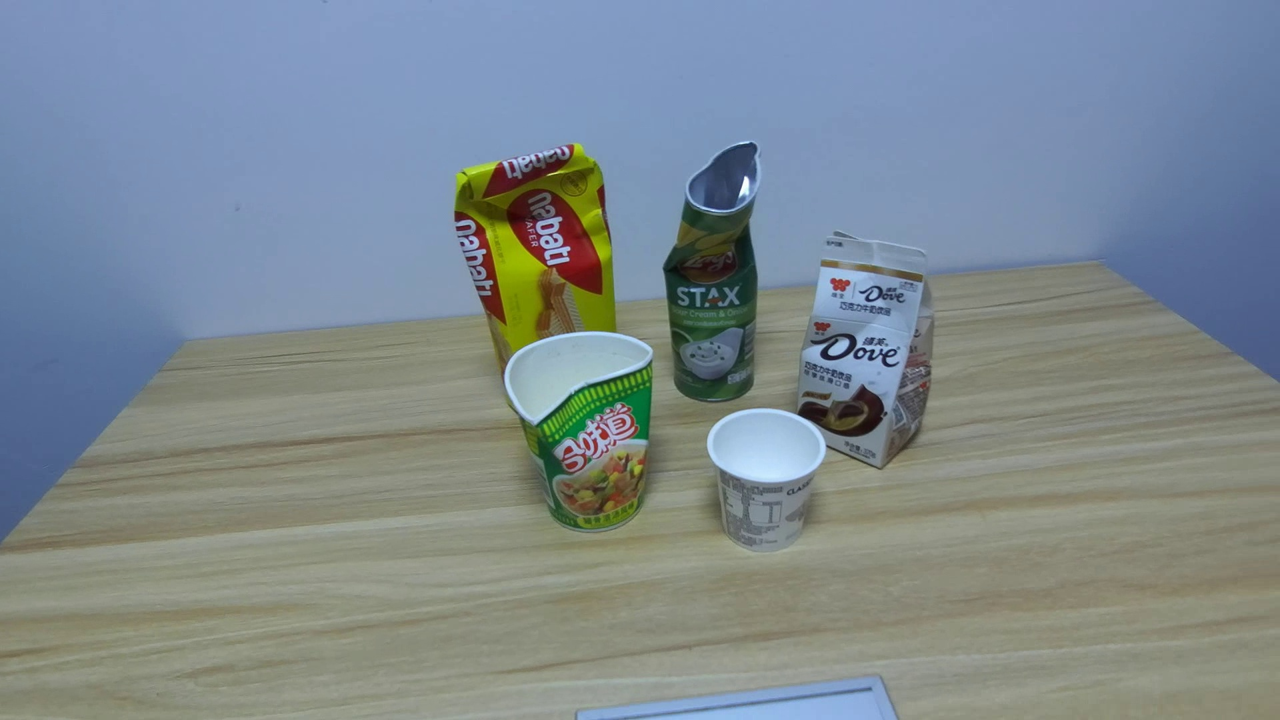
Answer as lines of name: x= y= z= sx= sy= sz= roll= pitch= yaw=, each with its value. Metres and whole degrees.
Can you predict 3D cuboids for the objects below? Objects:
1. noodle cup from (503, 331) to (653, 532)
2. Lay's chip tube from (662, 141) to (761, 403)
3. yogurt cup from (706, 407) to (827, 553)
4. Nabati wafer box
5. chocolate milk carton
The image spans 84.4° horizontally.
noodle cup: x=-0.033 y=0.049 z=0.469 sx=0.094 sy=0.109 sz=0.086 roll=-13 pitch=34 yaw=-13
Lay's chip tube: x=0.061 y=-0.057 z=0.545 sx=0.079 sy=0.199 sz=0.070 roll=-16 pitch=42 yaw=-15
yogurt cup: x=0.078 y=0.078 z=0.447 sx=0.072 sy=0.068 sz=0.072 roll=-3 pitch=34 yaw=2
Nabati wafer box: x=-0.071 y=-0.055 z=0.548 sx=0.113 sy=0.205 sz=0.042 roll=-21 pitch=33 yaw=-24
chocolate milk carton: x=0.164 y=-0.012 z=0.500 sx=0.084 sy=0.155 sz=0.073 roll=23 pitch=41 yaw=33
